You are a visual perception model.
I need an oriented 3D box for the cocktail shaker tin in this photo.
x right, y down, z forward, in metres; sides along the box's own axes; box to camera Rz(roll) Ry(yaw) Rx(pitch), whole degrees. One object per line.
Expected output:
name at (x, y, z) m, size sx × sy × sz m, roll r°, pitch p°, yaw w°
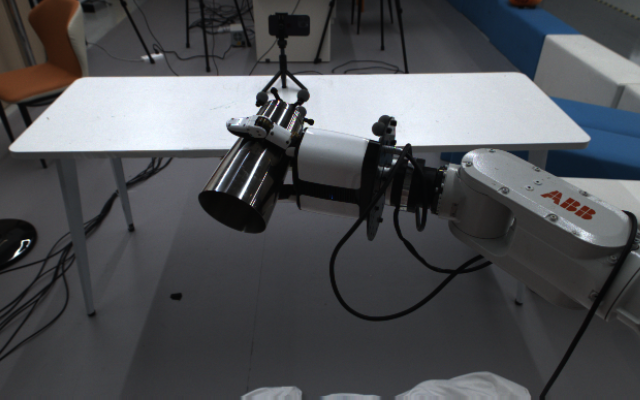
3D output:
cocktail shaker tin at (-0.082, -0.052, 0.644) m, size 0.093 × 0.093 × 0.170 m, roll 13°, pitch 59°, yaw 16°
